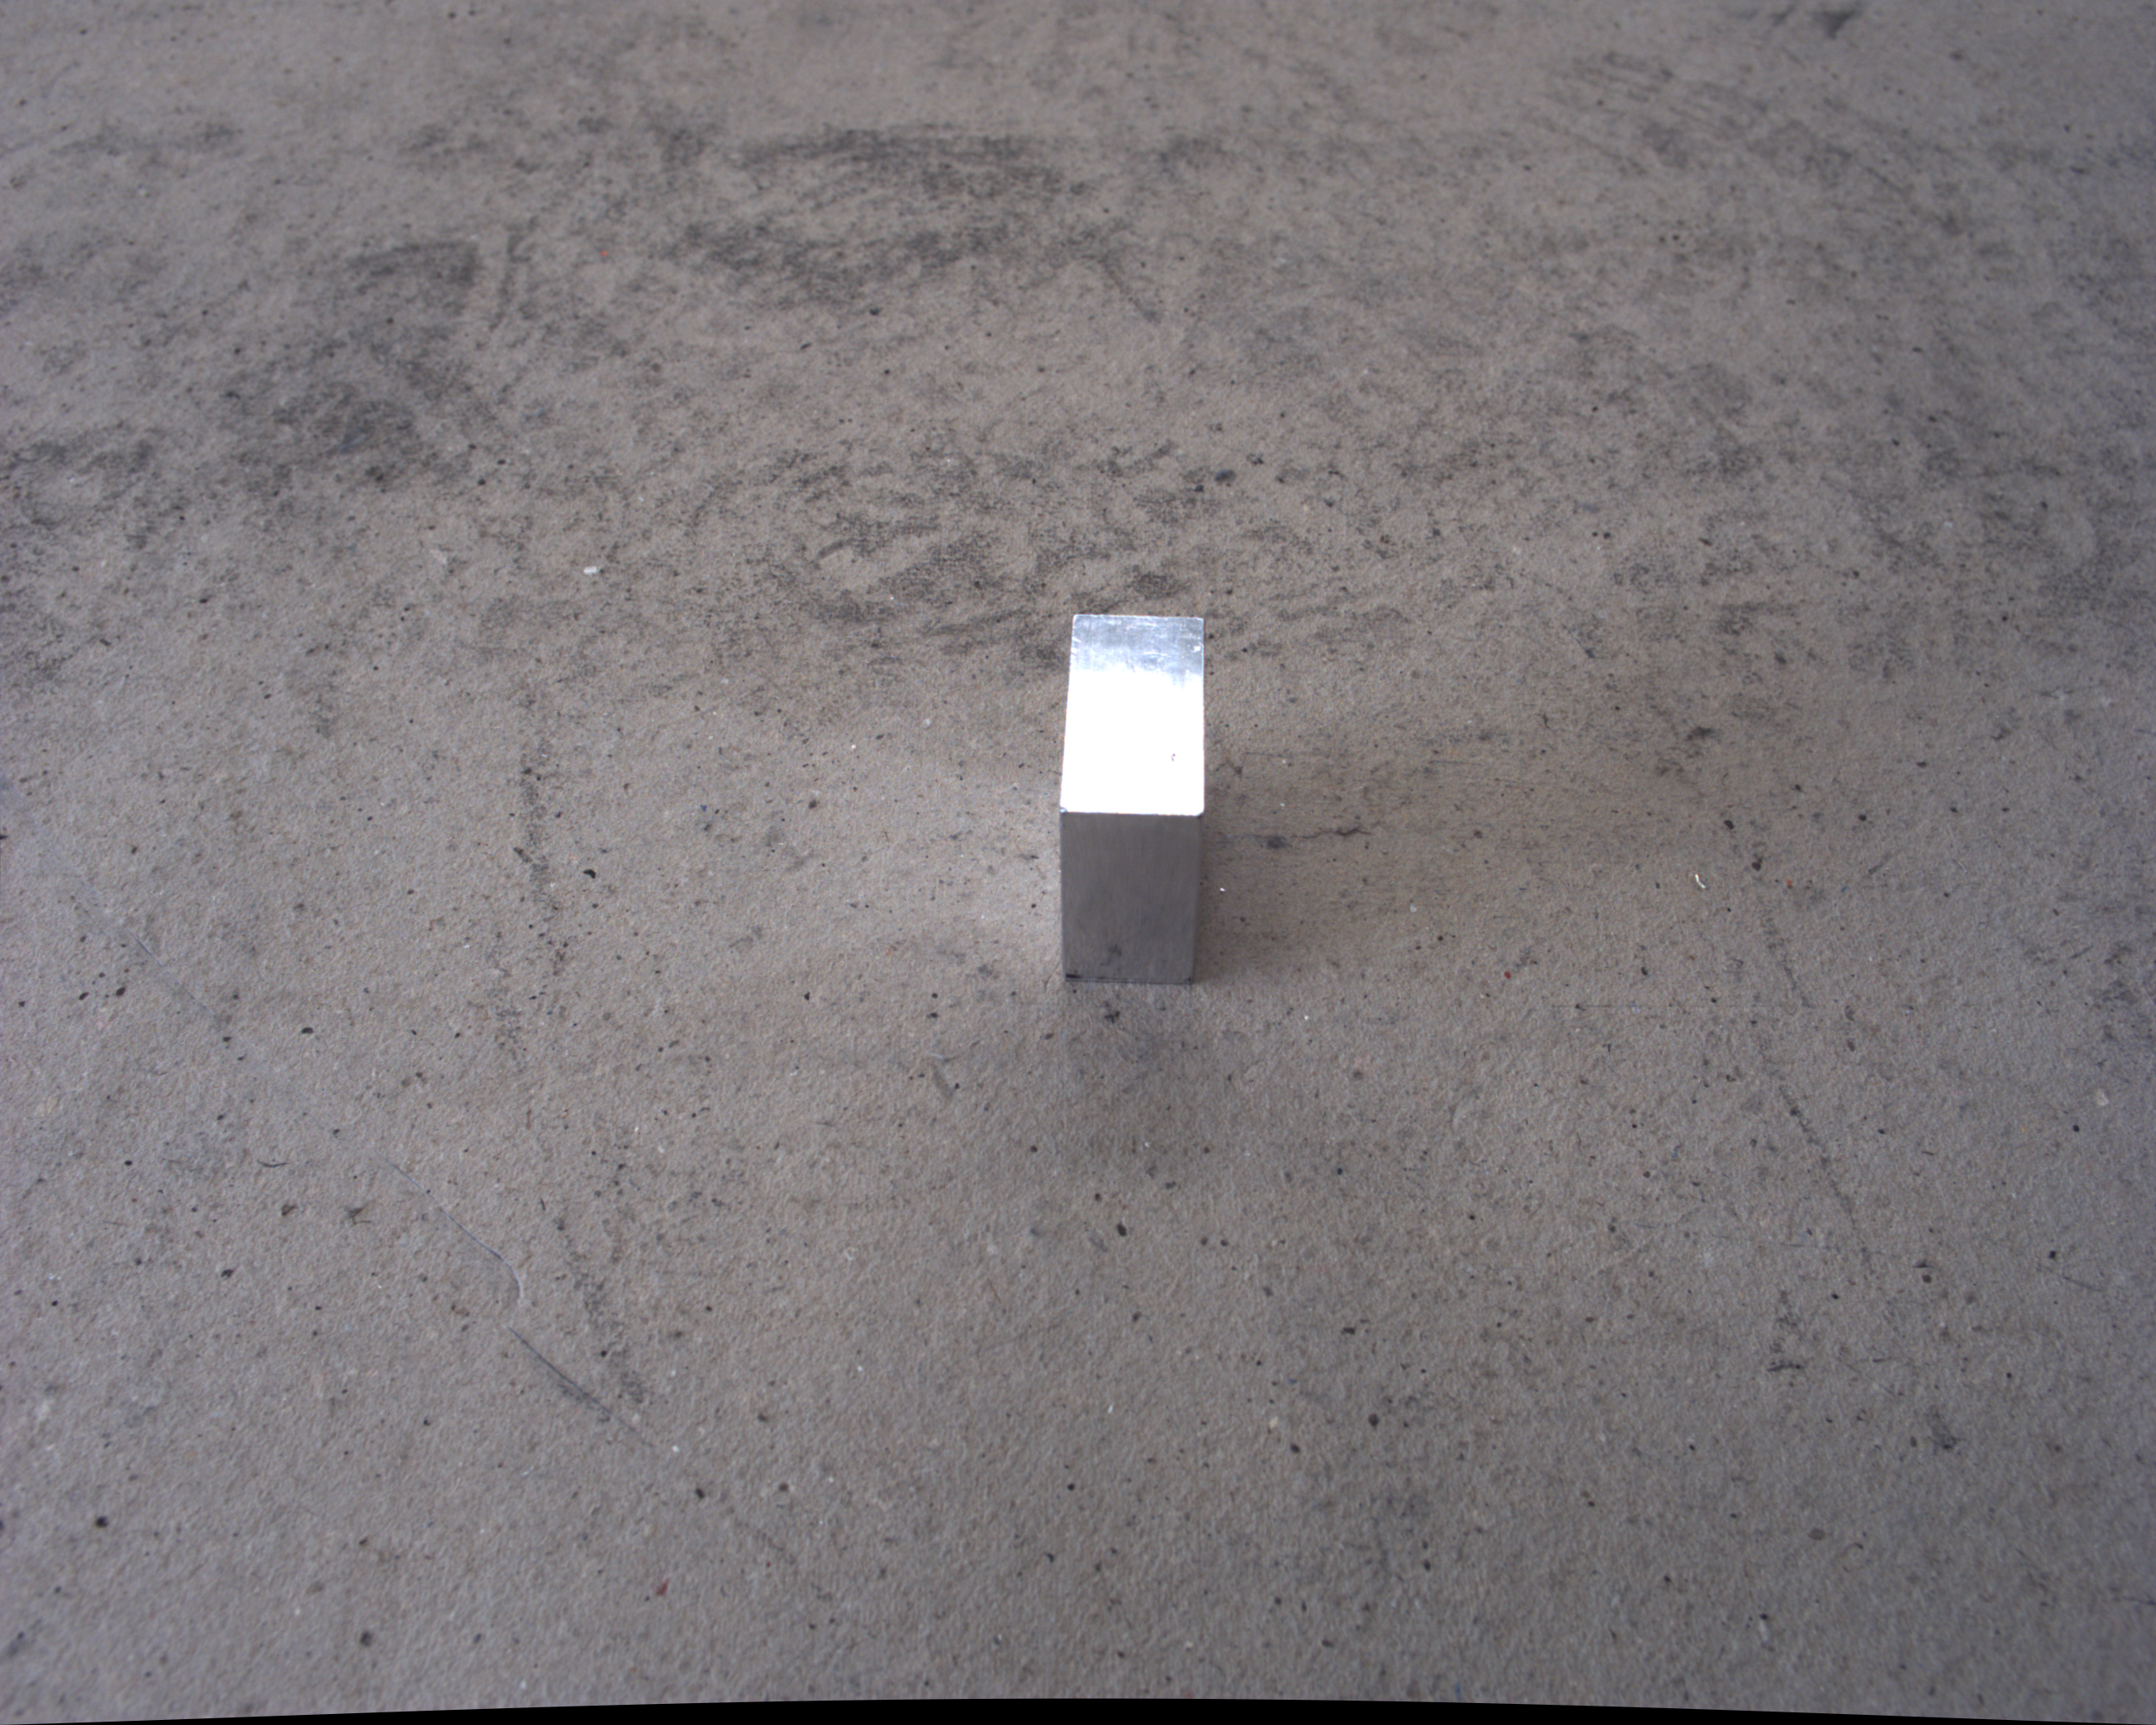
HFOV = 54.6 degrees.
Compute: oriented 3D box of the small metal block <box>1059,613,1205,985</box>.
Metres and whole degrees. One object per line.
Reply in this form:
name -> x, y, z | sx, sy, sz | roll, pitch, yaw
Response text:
small metal block -> 0.010, -0.012, 0.399 | 0.025, 0.050, 0.050 | 2, 50, 1
